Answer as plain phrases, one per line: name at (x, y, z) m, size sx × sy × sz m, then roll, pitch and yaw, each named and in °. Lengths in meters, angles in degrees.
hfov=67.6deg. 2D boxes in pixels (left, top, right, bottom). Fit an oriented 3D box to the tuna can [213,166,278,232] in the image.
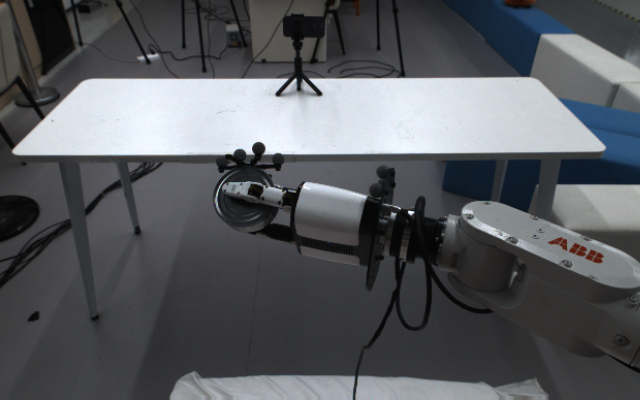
tuna can at (-0.094, 0.000, 0.653) m, size 0.085 × 0.034 × 0.085 m, roll -2°, pitch 69°, yaw 6°
